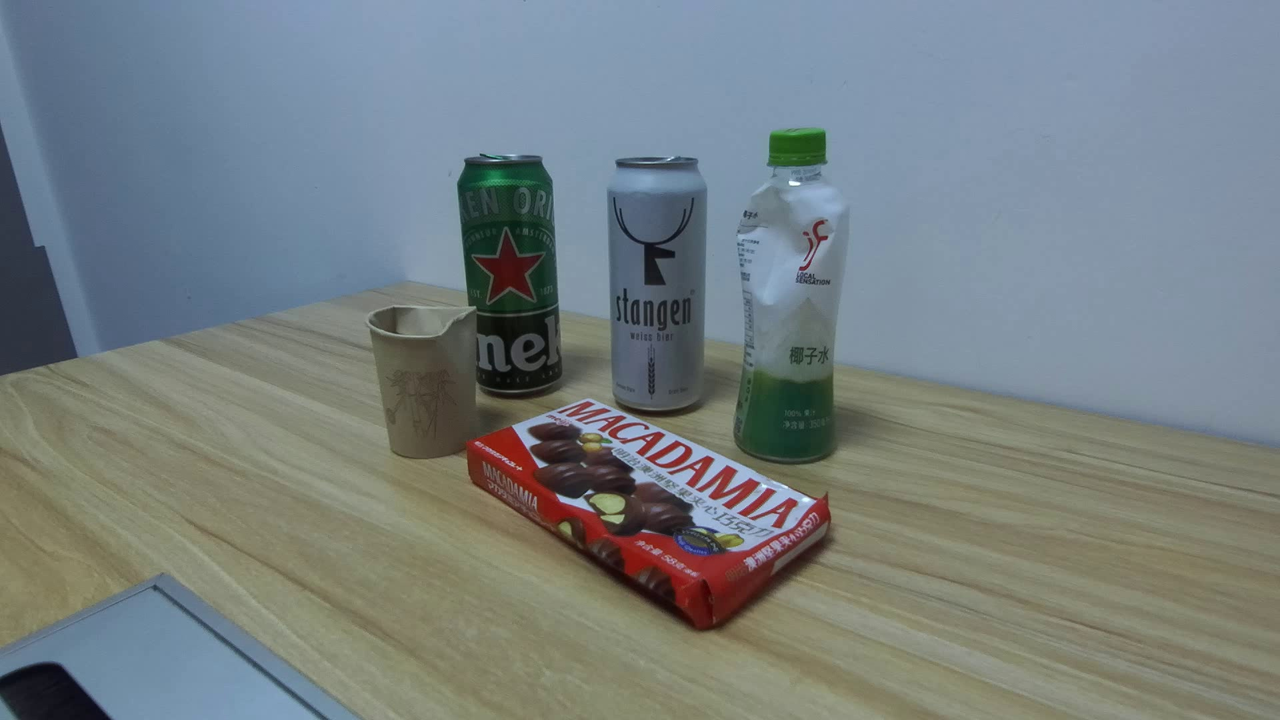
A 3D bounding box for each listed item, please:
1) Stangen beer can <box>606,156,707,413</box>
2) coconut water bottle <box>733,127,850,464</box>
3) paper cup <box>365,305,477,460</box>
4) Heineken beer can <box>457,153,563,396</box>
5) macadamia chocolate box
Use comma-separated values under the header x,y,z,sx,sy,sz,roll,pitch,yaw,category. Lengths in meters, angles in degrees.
x,y,z,sx,sy,sz,roll,pitch,yaw,category
0.012,-0.050,0.486,0.067,0.171,0.067,0,19,0,Stangen beer can
0.089,-0.037,0.413,0.069,0.187,0.069,1,19,0,coconut water bottle
-0.137,0.013,0.444,0.066,0.084,0.072,4,19,13,paper cup
-0.094,-0.060,0.523,0.067,0.169,0.067,-1,19,1,Heineken beer can
-0.002,0.068,0.368,0.106,0.028,0.182,-18,27,-41,macadamia chocolate box
